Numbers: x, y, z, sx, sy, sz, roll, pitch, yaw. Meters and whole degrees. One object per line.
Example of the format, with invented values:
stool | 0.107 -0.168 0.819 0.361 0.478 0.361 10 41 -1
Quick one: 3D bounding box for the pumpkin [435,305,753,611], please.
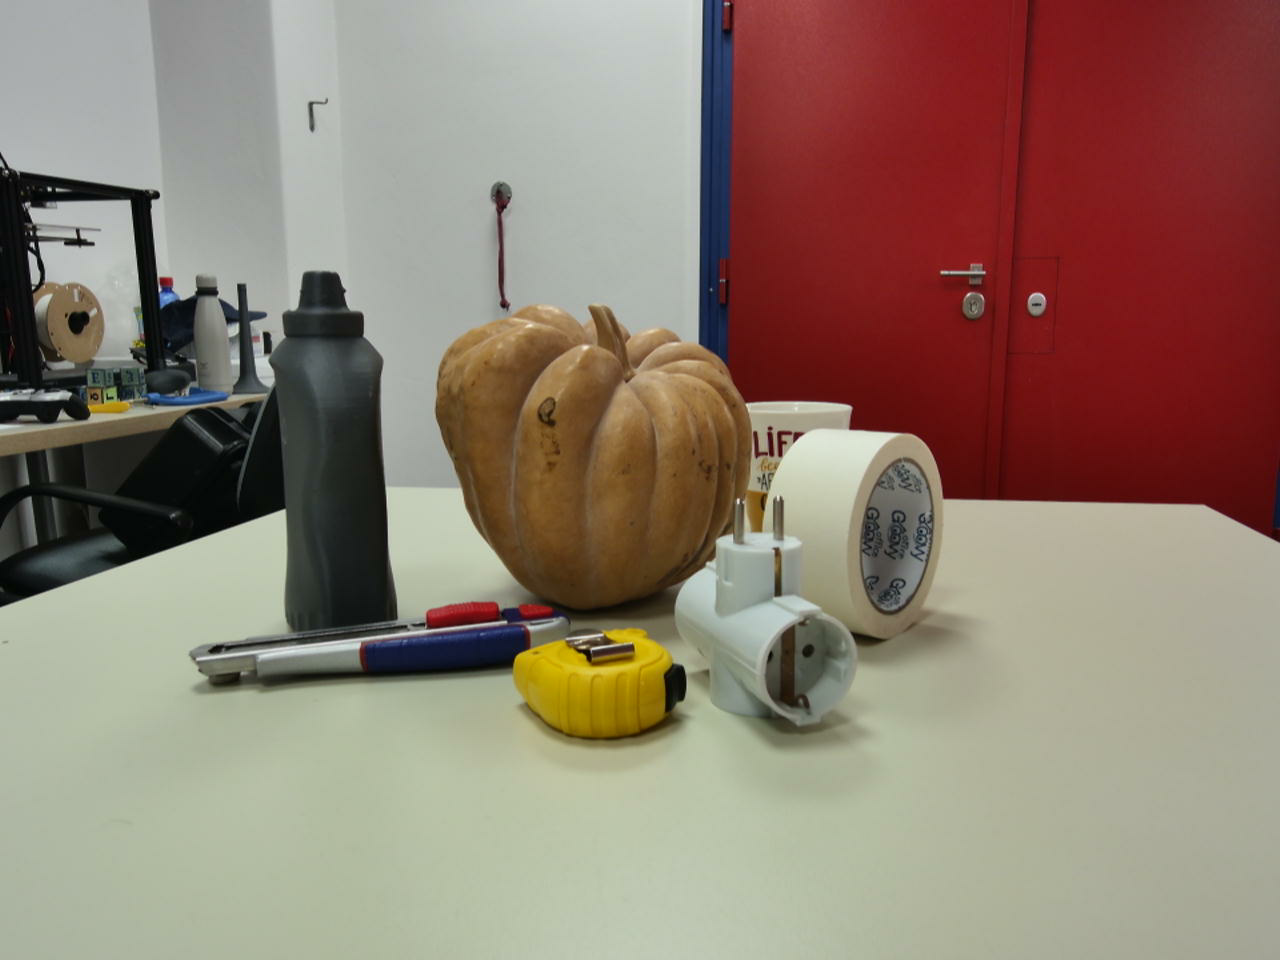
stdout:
pumpkin | -0.028 -0.016 0.599 0.199 0.177 0.198 0 7 0
